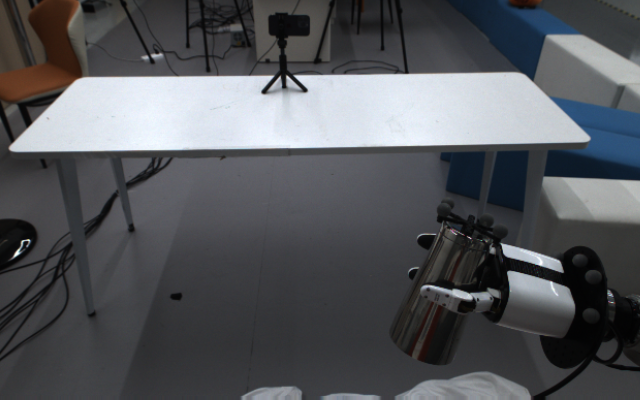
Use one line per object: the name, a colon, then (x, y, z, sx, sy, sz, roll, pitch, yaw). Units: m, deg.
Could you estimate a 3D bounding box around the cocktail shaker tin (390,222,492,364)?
cocktail shaker tin: (0.162, 0.114, 0.631, 0.093, 0.170, 0.093, 15, 17, -5)
